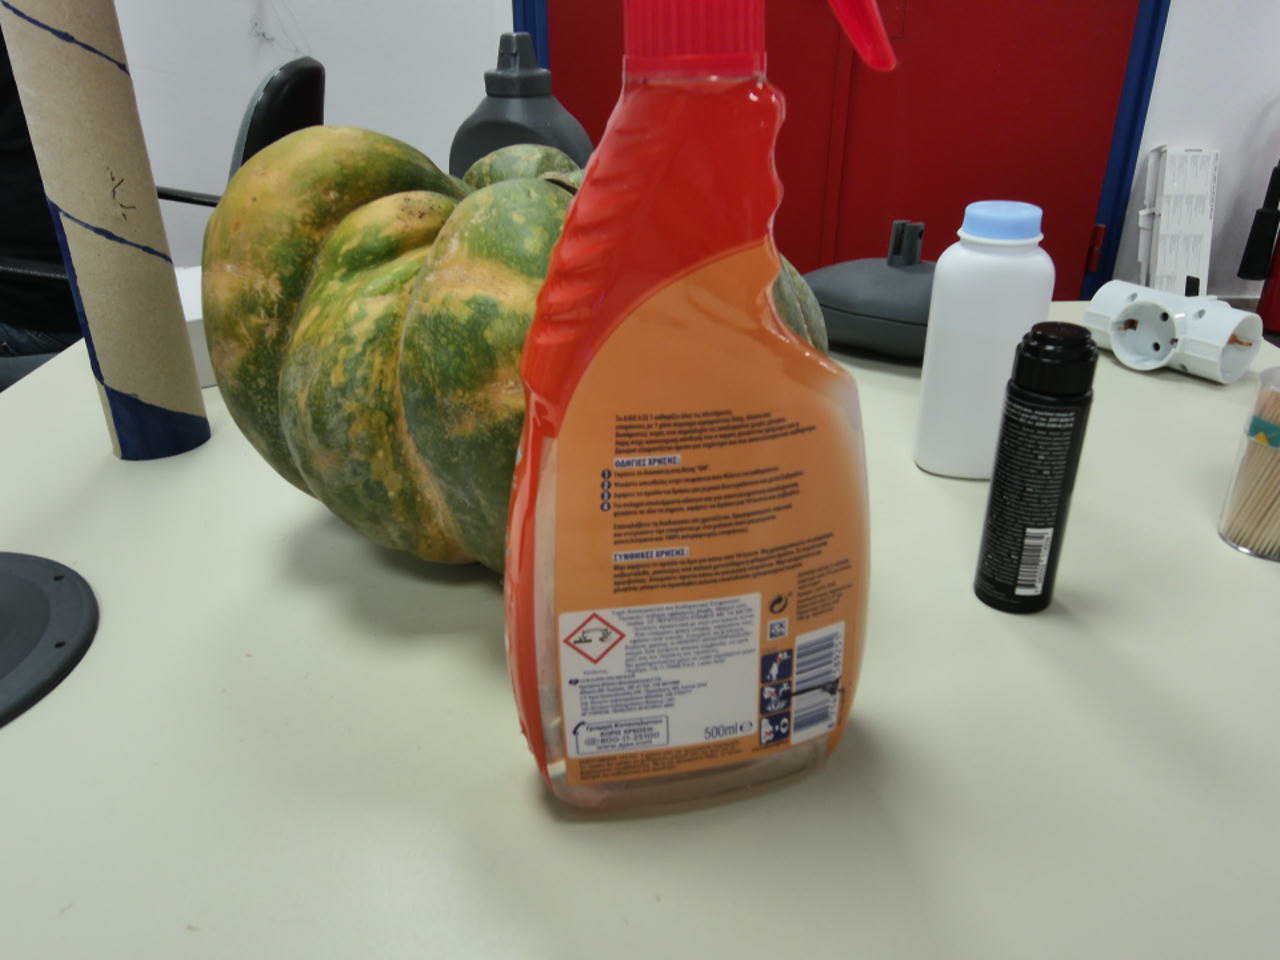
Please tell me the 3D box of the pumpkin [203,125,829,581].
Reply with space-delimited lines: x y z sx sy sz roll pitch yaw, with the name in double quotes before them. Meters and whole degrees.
"pumpkin" -0.049 -0.064 0.433 0.270 0.173 0.237 17 30 33
